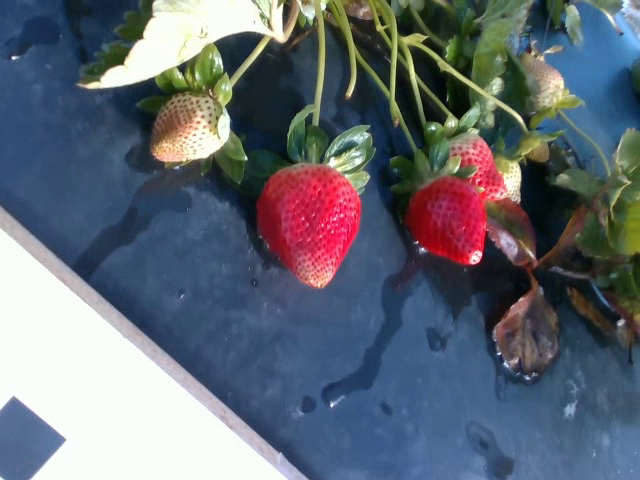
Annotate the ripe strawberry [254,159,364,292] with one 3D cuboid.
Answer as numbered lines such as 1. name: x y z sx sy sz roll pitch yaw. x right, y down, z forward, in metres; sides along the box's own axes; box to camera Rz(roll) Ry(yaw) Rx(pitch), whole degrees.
1. ripe strawberry: -0.004 -0.005 0.257 0.050 0.049 0.065 4 41 -7

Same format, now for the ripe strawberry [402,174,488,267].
1. ripe strawberry: 0.065 -0.006 0.308 0.044 0.055 0.041 -19 -42 -5
